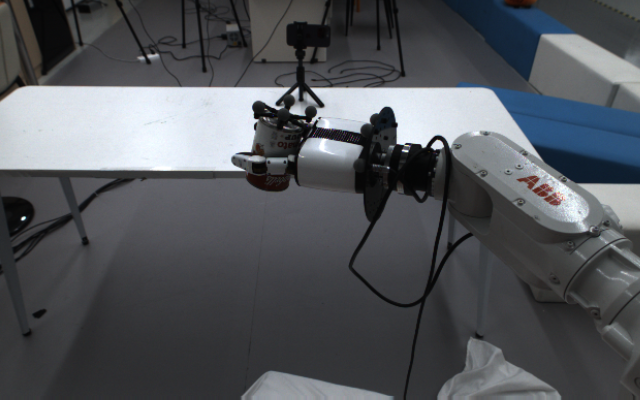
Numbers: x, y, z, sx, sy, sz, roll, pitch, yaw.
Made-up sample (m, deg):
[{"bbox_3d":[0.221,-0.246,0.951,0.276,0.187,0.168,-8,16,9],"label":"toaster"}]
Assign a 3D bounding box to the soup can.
[{"bbox_3d":[-0.066,-0.072,0.706,0.067,0.101,0.067,13,31,-8],"label":"soup can"}]
